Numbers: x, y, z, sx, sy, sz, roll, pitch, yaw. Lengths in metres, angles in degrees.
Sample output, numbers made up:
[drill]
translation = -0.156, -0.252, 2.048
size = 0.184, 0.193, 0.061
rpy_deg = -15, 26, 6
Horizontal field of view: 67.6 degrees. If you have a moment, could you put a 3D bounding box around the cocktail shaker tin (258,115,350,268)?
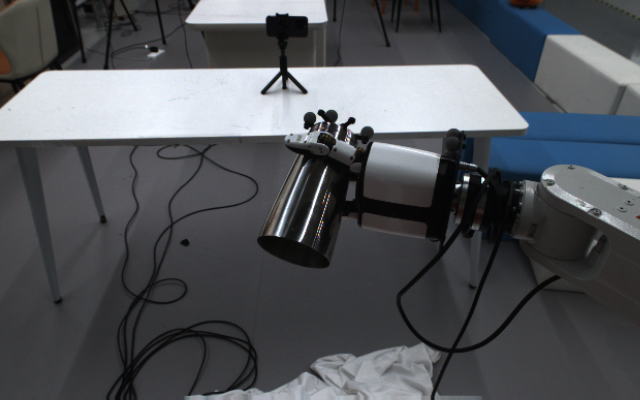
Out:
[cocktail shaker tin]
translation = -0.004, -0.014, 0.606
size = 0.093, 0.093, 0.170
rpy_deg = 12, 65, 14
